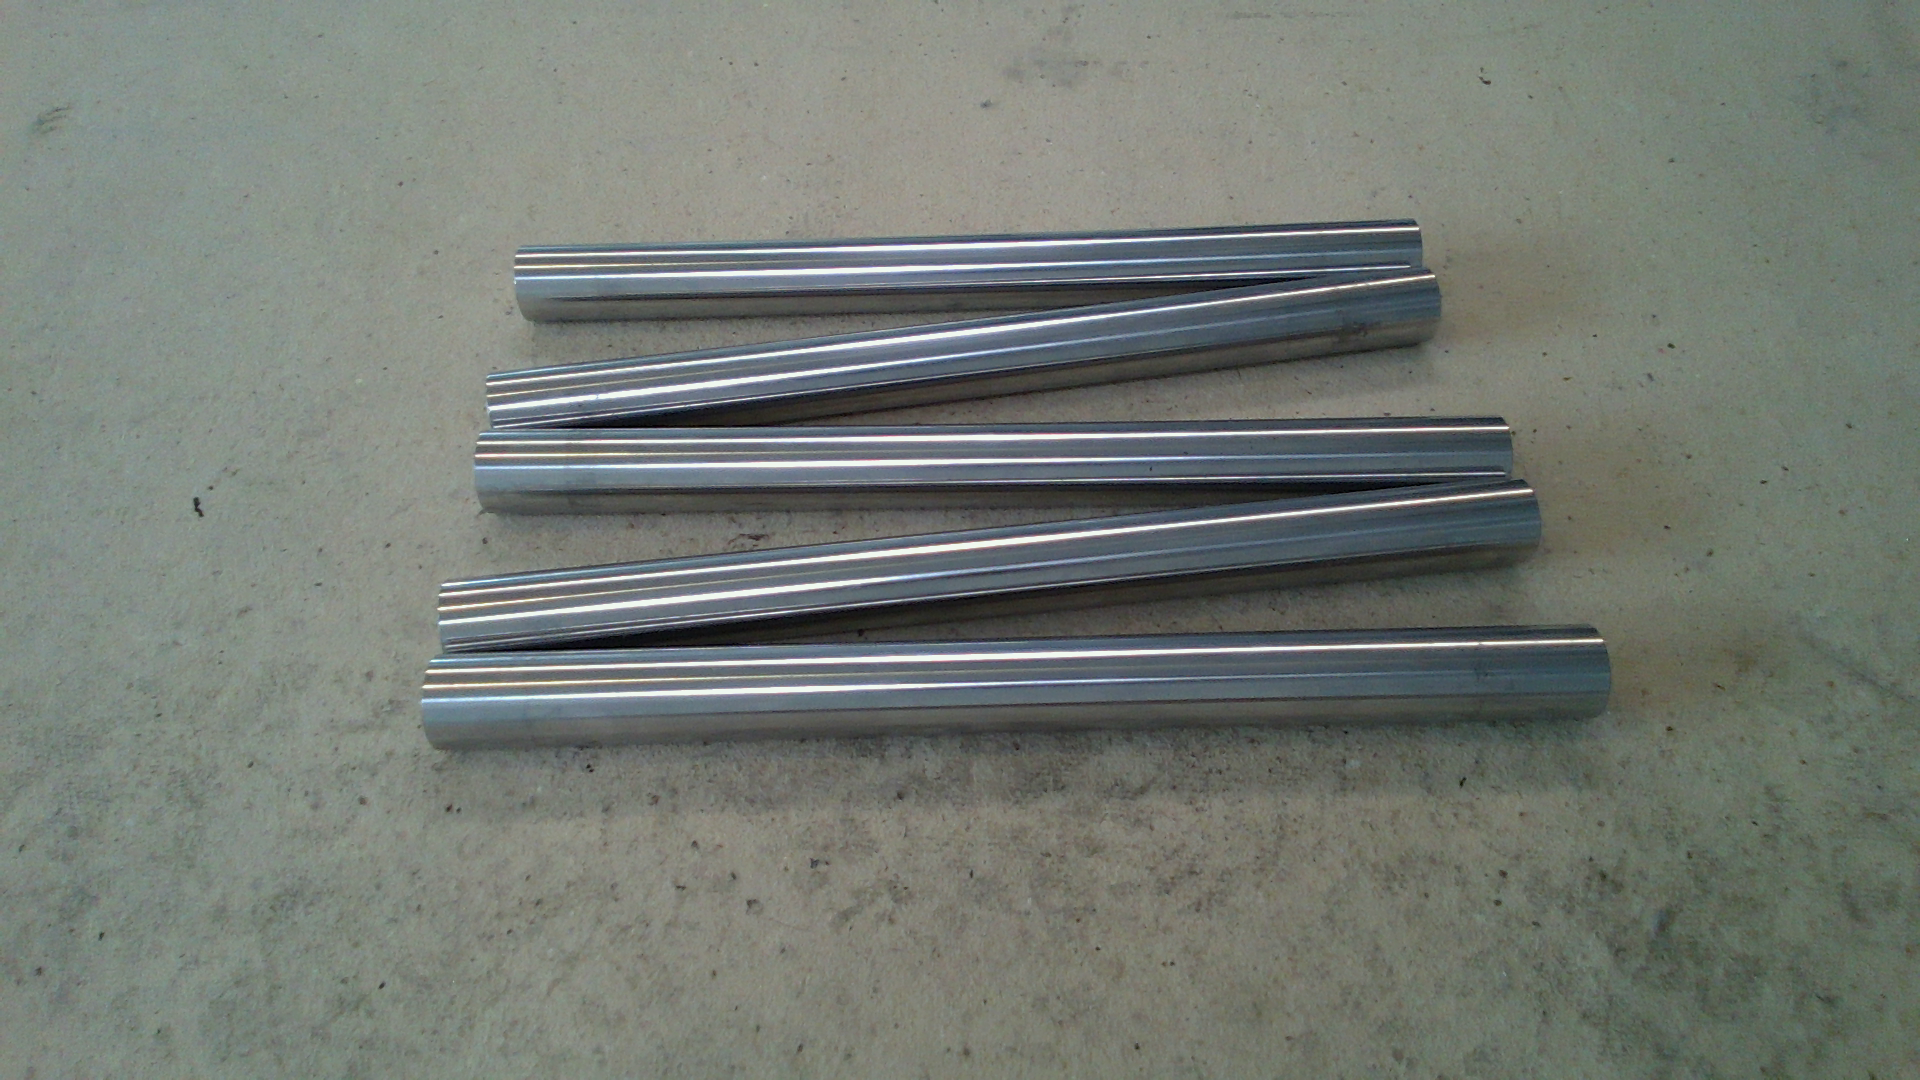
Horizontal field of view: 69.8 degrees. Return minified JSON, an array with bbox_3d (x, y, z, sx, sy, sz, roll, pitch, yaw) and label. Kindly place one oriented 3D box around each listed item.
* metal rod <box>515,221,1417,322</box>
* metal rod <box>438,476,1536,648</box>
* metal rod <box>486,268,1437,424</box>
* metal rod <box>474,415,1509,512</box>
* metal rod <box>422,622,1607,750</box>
[{"bbox_3d":[0.003,-0.092,0.469,0.300,0.025,0.025,-2,50,-2],"label":"metal rod"},{"bbox_3d":[0.011,0.008,0.385,0.300,0.025,0.025,-6,50,-5],"label":"metal rod"},{"bbox_3d":[0.005,-0.059,0.441,0.300,0.025,0.025,-7,50,-6],"label":"metal rod"},{"bbox_3d":[0.010,-0.023,0.411,0.300,0.025,0.025,-1,50,-1],"label":"metal rod"},{"bbox_3d":[0.015,0.038,0.360,0.300,0.025,0.025,-1,50,-1],"label":"metal rod"}]
